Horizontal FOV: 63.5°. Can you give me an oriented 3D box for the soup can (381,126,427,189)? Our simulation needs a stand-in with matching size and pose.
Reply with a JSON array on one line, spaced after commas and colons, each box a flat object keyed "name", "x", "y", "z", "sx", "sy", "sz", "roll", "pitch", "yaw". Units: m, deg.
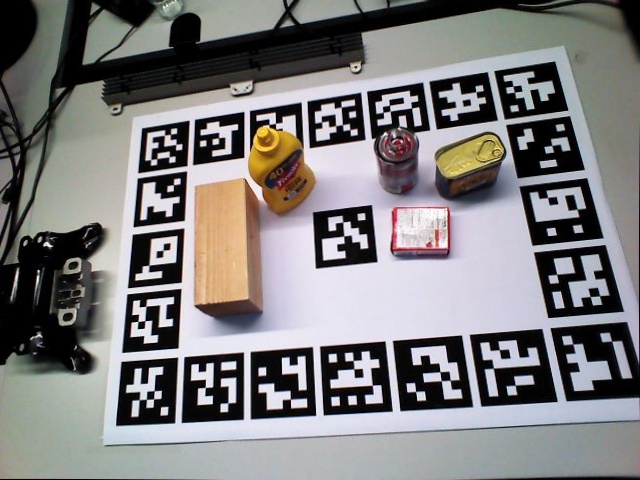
[{"name": "soup can", "x": 0.134, "y": -0.130, "z": 0.814, "sx": 0.068, "sy": 0.102, "sz": 0.067, "roll": -4, "pitch": 70, "yaw": 11}]

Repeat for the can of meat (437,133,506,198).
[{"name": "can of meat", "x": 0.235, "y": -0.115, "z": 0.807, "sx": 0.102, "sy": 0.084, "sz": 0.057, "roll": -19, "pitch": 67, "yaw": 2}]

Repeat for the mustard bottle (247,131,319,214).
[{"name": "mustard bottle", "x": -0.062, "y": -0.112, "z": 0.815, "sx": 0.096, "sy": 0.192, "sz": 0.058, "roll": -30, "pitch": 66, "yaw": -2}]

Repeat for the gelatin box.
[{"name": "gelatin box", "x": 0.168, "y": -0.011, "z": 0.805, "sx": 0.090, "sy": 0.030, "sz": 0.073, "roll": 2, "pitch": 72, "yaw": 15}]

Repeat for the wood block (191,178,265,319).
[{"name": "wood block", "x": -0.145, "y": 0.014, "z": 0.835, "sx": 0.091, "sy": 0.090, "sz": 0.205, "roll": -6, "pitch": 65, "yaw": 8}]
